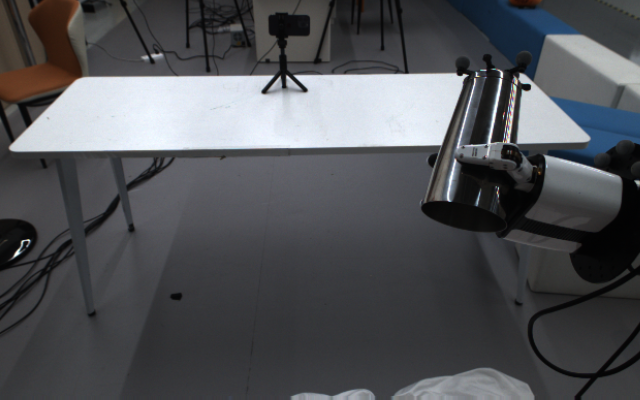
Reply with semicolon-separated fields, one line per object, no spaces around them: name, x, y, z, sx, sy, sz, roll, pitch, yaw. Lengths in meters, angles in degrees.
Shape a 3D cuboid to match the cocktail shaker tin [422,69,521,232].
cocktail shaker tin;0.181;-0.059;0.552;0.093;0.093;0.170;13;74;15
